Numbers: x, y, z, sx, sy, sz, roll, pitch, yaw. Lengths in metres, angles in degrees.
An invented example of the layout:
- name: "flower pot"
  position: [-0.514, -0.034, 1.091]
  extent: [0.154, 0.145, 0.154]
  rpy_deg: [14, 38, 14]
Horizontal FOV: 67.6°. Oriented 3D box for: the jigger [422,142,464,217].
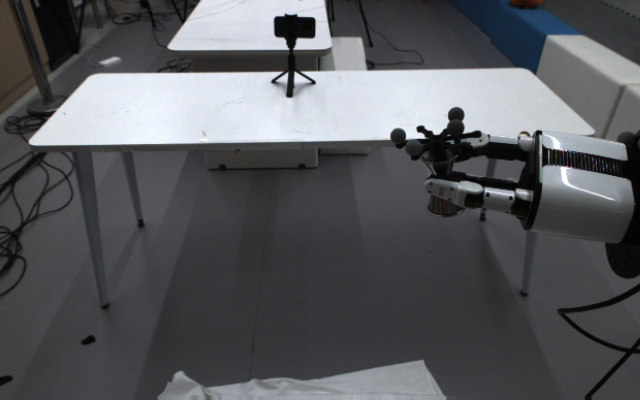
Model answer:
- name: "jigger"
  position: [0.138, -0.020, 0.540]
  extent: [0.043, 0.071, 0.043]
  rpy_deg: [-12, 29, 7]
